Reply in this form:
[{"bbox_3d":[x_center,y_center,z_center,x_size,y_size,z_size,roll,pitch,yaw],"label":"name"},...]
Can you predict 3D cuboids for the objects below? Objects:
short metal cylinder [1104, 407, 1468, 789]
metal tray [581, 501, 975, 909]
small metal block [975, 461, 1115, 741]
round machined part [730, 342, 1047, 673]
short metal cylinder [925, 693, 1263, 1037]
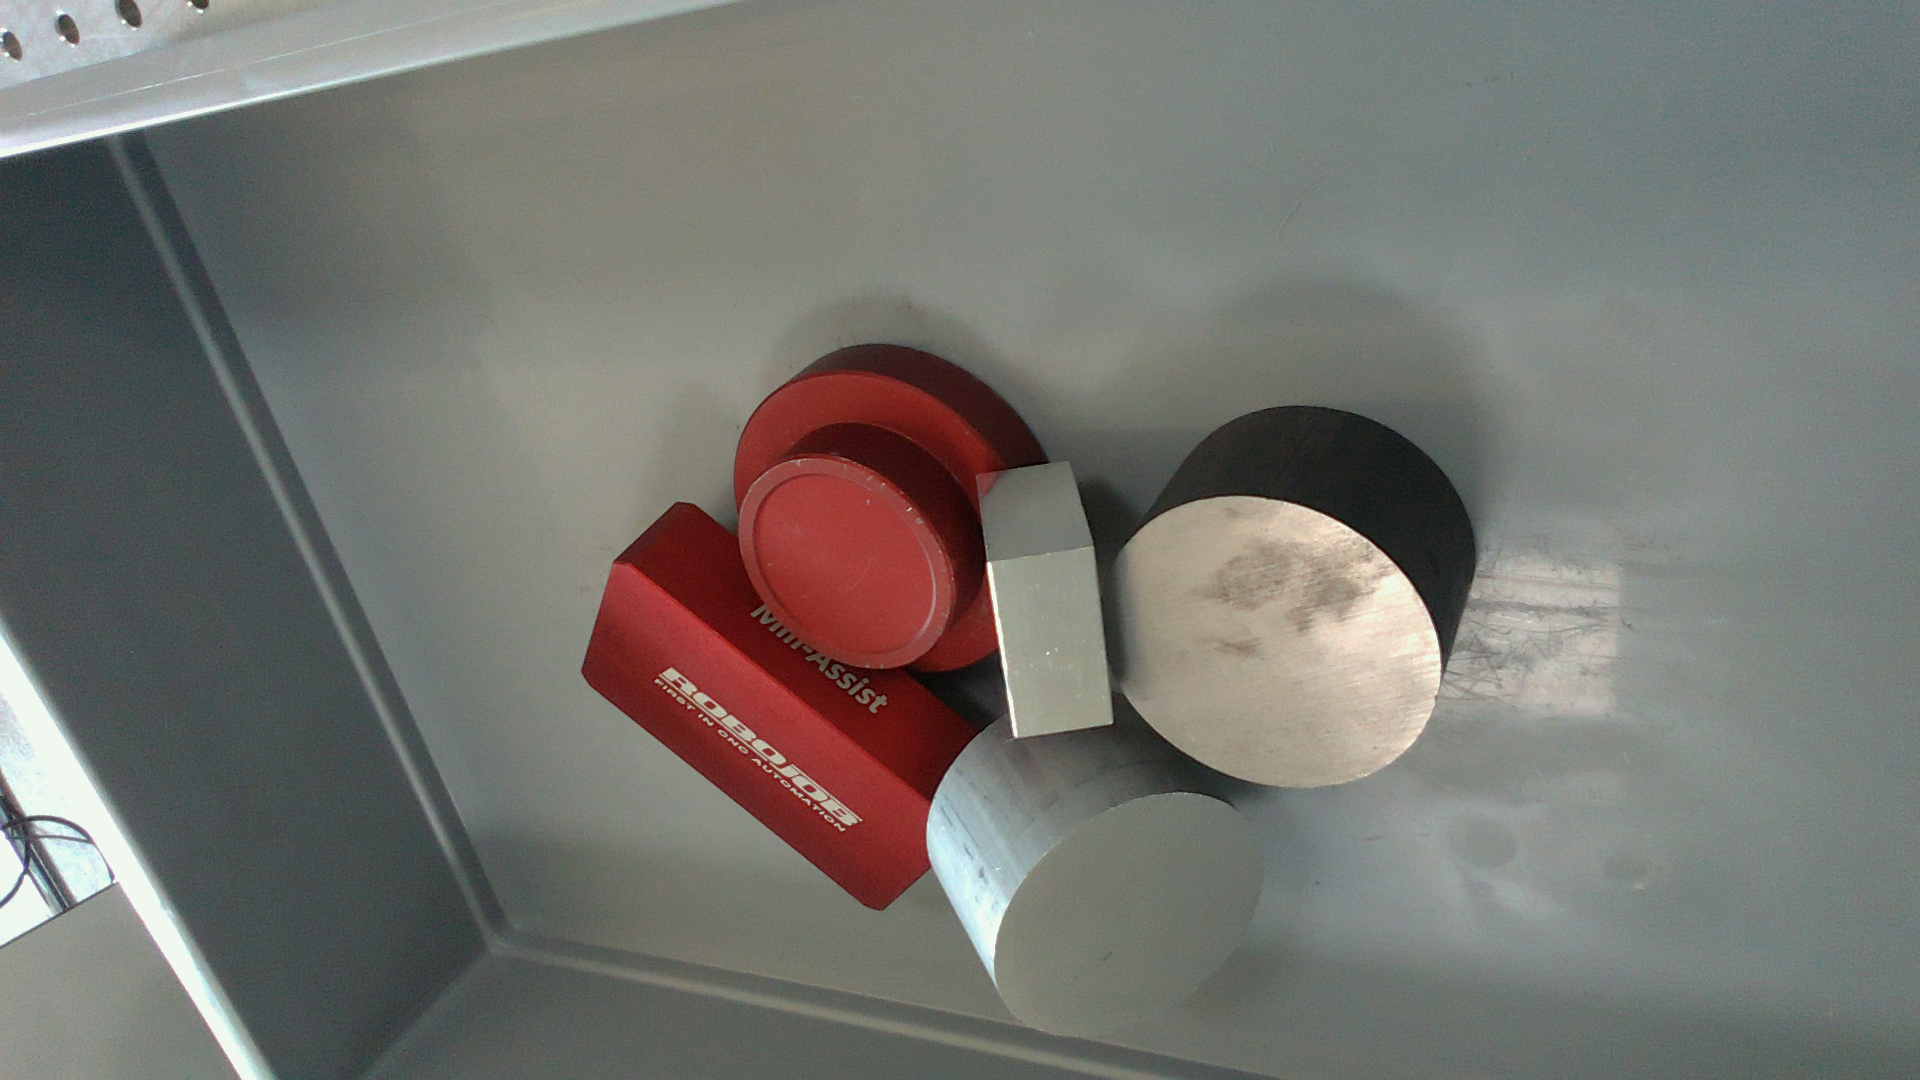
[{"bbox_3d":[0.081,0.014,0.341,0.080,0.050,0.080,13,124,21],"label":"short metal cylinder"},{"bbox_3d":[-0.057,0.056,0.439,0.130,0.030,0.090,38,145,2],"label":"metal tray"},{"bbox_3d":[0.021,0.014,0.349,0.025,0.050,0.050,-8,117,1],"label":"small metal block"},{"bbox_3d":[-0.024,-0.003,0.391,0.098,0.042,0.098,13,124,21],"label":"round machined part"},{"bbox_3d":[0.036,0.089,0.383,0.050,0.080,0.080,-131,30,-55],"label":"short metal cylinder"}]
